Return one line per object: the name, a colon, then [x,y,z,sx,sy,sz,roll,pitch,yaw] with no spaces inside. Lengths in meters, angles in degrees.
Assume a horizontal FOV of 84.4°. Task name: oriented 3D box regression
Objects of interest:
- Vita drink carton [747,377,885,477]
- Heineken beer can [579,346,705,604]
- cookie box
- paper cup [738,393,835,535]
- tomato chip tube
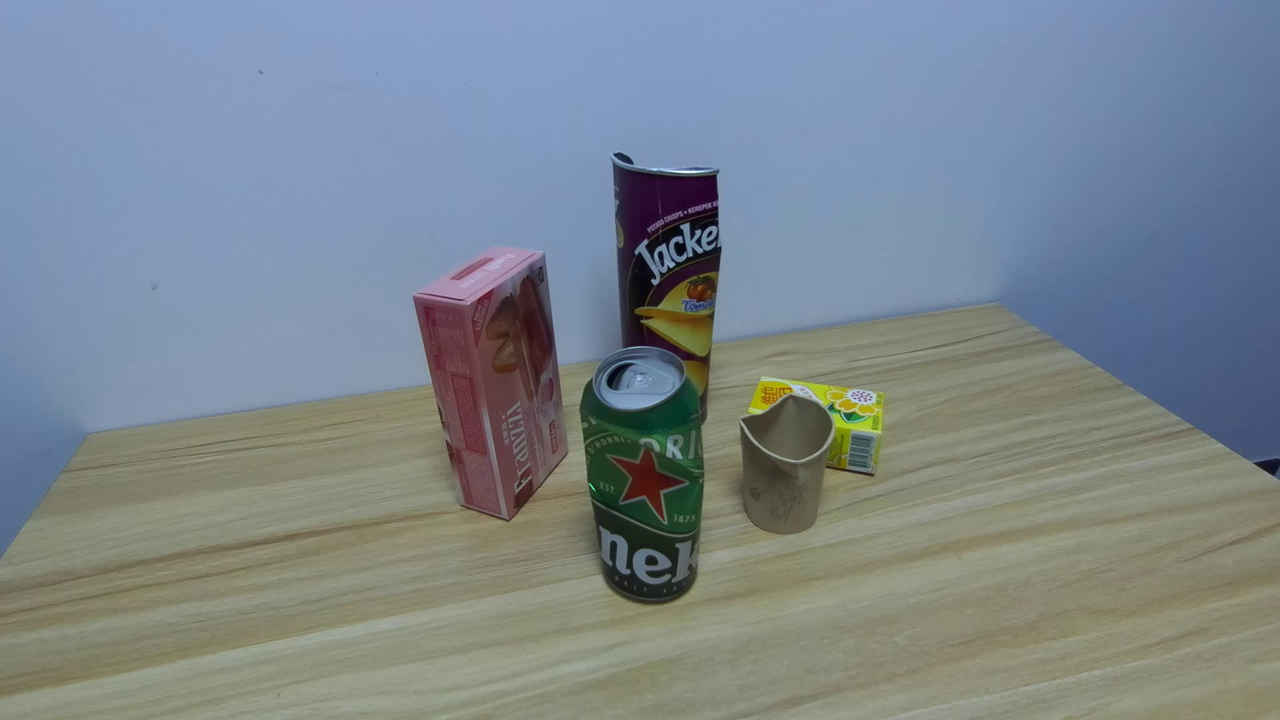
Vita drink carton: [0.150,0.055,0.605,0.108,0.043,0.066,8,30,16]
Heineken beer can: [0.004,0.078,0.449,0.069,0.168,0.068,-10,34,-10]
cookie box: [-0.105,0.019,0.539,0.048,0.185,0.096,9,32,22]
paper cup: [0.110,0.080,0.519,0.072,0.084,0.066,-21,35,-31]
tomato chip tube: [0.022,-0.051,0.600,0.076,0.235,0.077,-7,29,-9]
